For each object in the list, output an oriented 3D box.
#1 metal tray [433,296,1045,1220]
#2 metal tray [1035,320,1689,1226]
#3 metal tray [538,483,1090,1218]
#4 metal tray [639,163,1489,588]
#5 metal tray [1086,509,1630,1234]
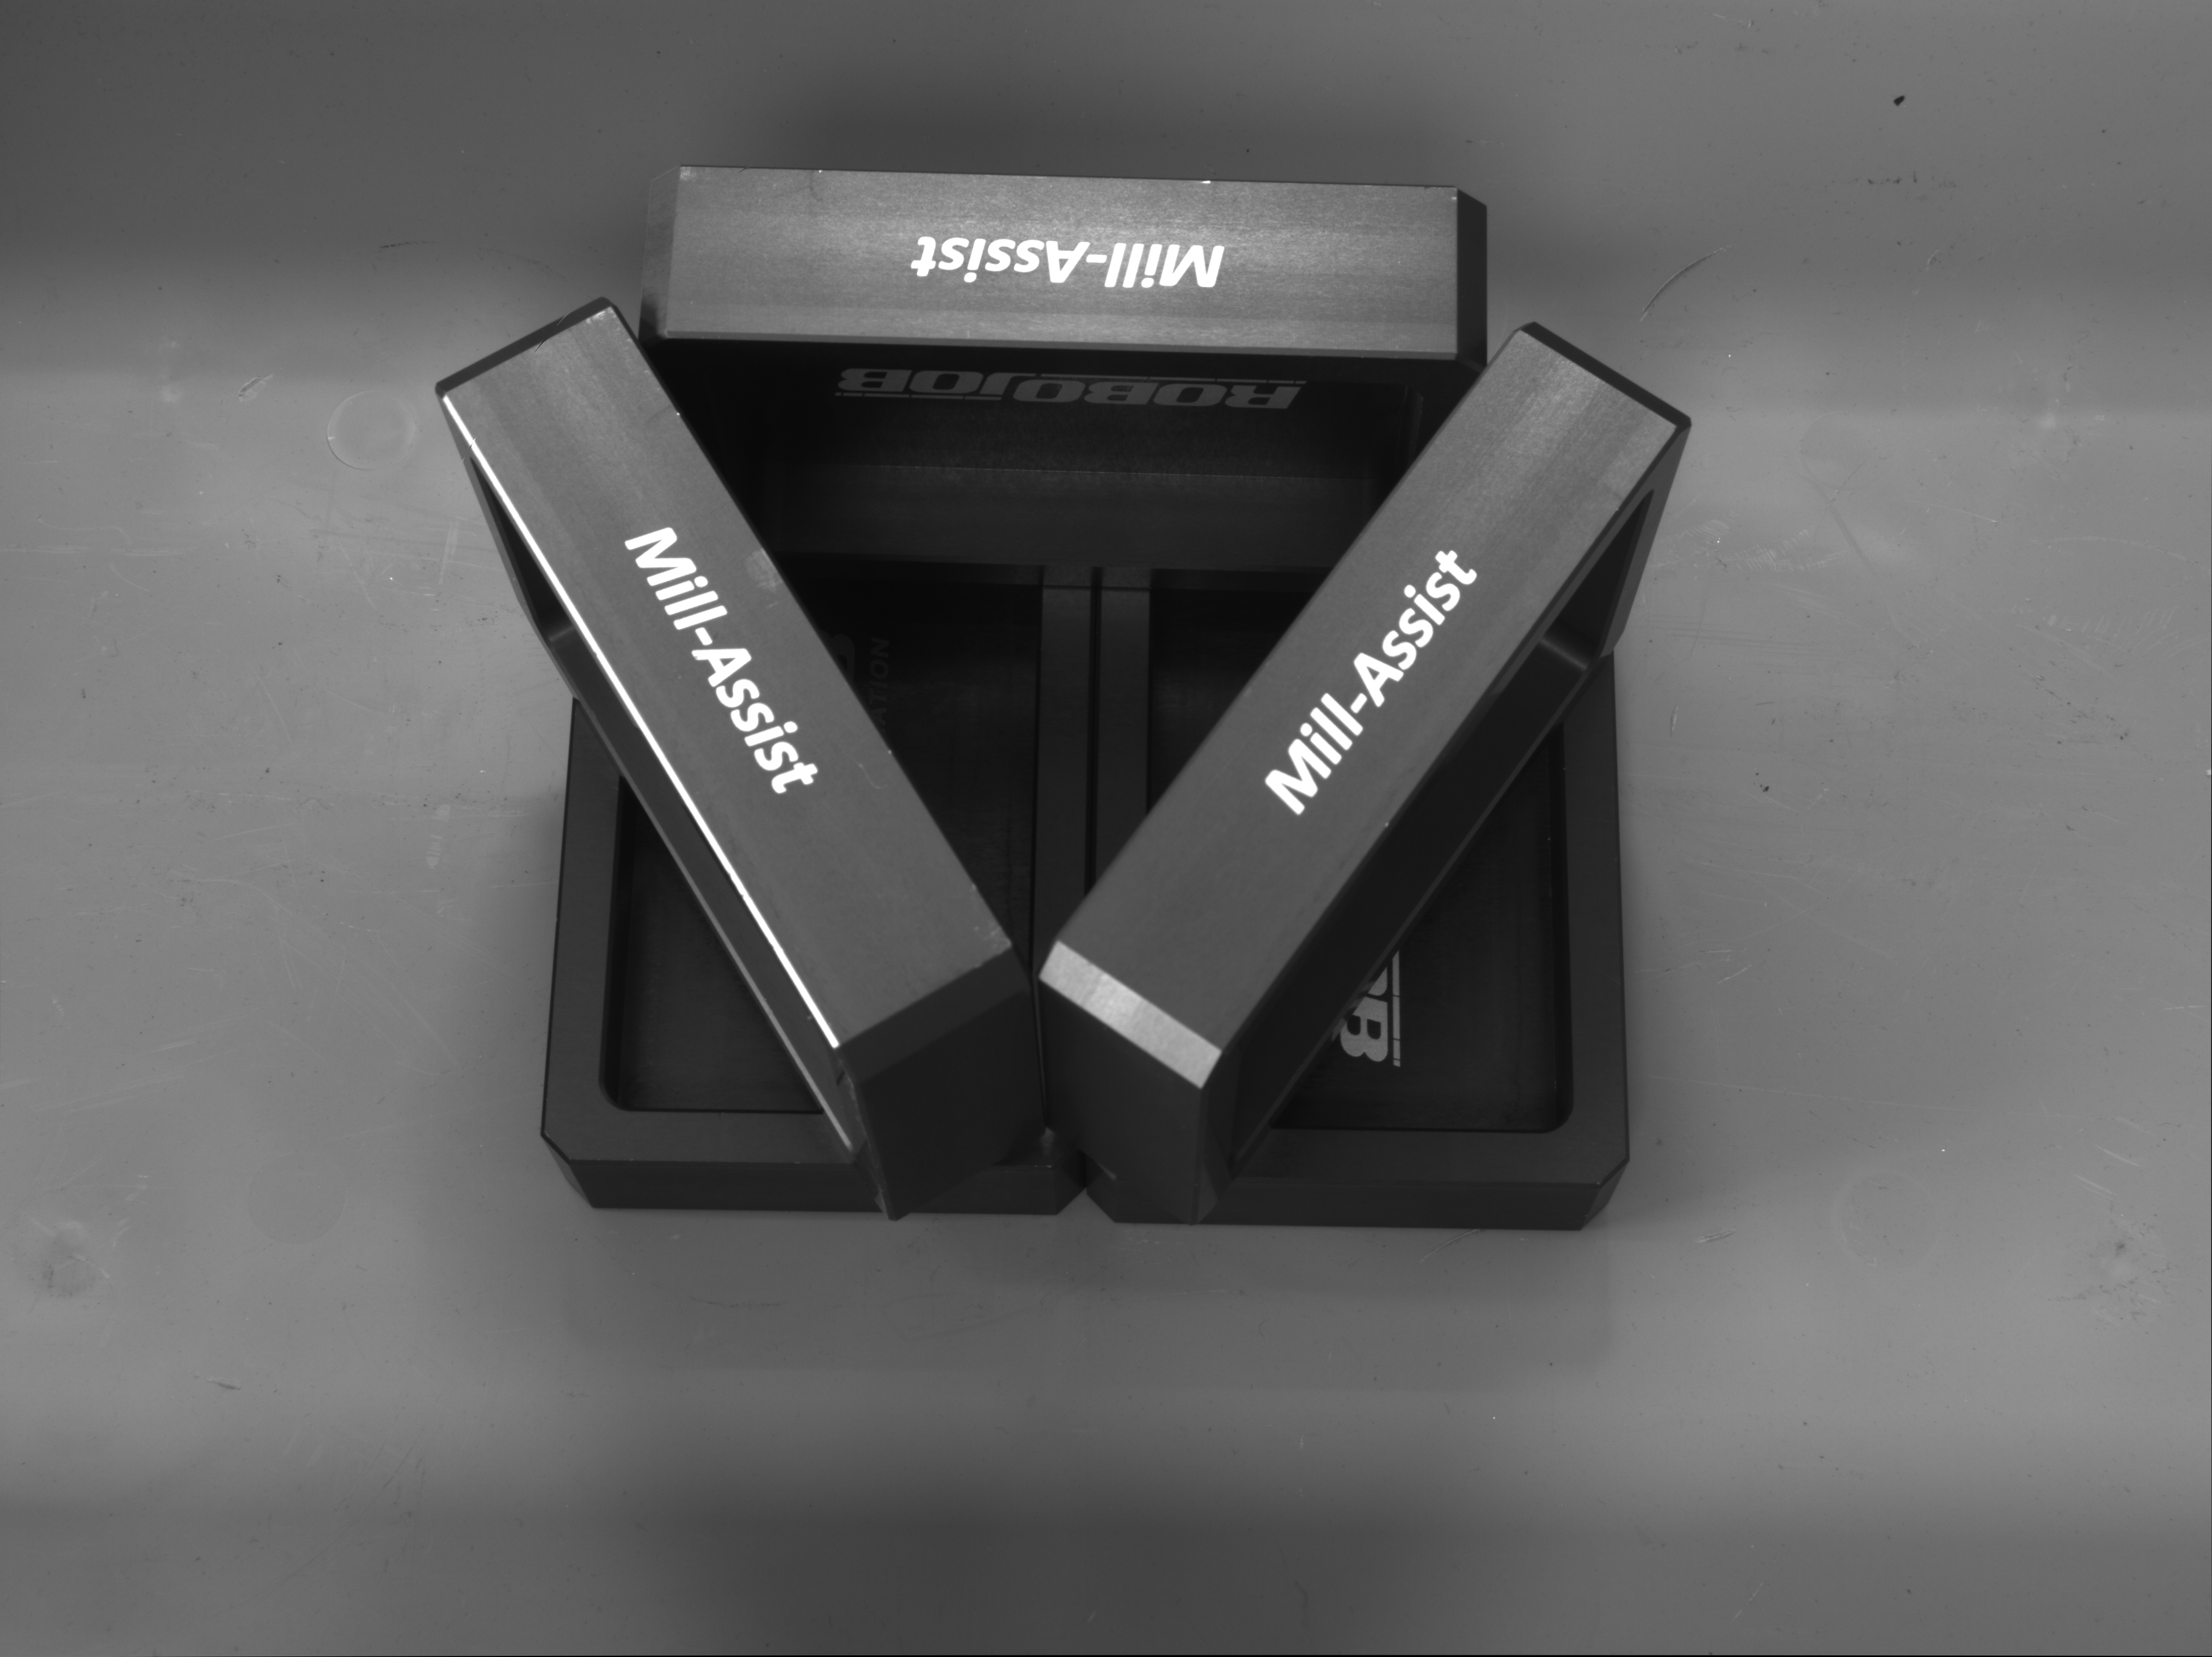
[{"bbox_3d":[-0.056,-0.009,0.580,0.030,0.090,0.130,-30,73,-10],"label":"metal tray"},{"bbox_3d":[0.040,-0.007,0.578,0.030,0.090,0.130,33,74,12],"label":"metal tray"},{"bbox_3d":[-0.048,0.001,0.642,0.090,0.030,0.130,0,69,1],"label":"metal tray"},{"bbox_3d":[-0.006,-0.072,0.602,0.130,0.090,0.030,2,70,1],"label":"metal tray"},{"bbox_3d":[0.043,0.003,0.640,0.090,0.030,0.130,1,69,1],"label":"metal tray"}]
